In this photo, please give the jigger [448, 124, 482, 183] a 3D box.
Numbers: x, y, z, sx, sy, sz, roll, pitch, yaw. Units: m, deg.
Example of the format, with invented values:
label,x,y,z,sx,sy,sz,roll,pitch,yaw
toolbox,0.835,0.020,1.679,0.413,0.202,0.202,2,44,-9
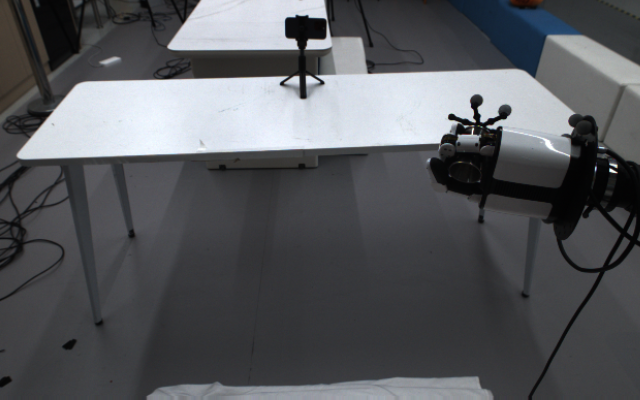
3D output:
label,x,y,z,sx,sy,sz,roll,pitch,yaw
jigger,0.203,-0.066,0.649,0.043,0.043,0.071,16,58,19
